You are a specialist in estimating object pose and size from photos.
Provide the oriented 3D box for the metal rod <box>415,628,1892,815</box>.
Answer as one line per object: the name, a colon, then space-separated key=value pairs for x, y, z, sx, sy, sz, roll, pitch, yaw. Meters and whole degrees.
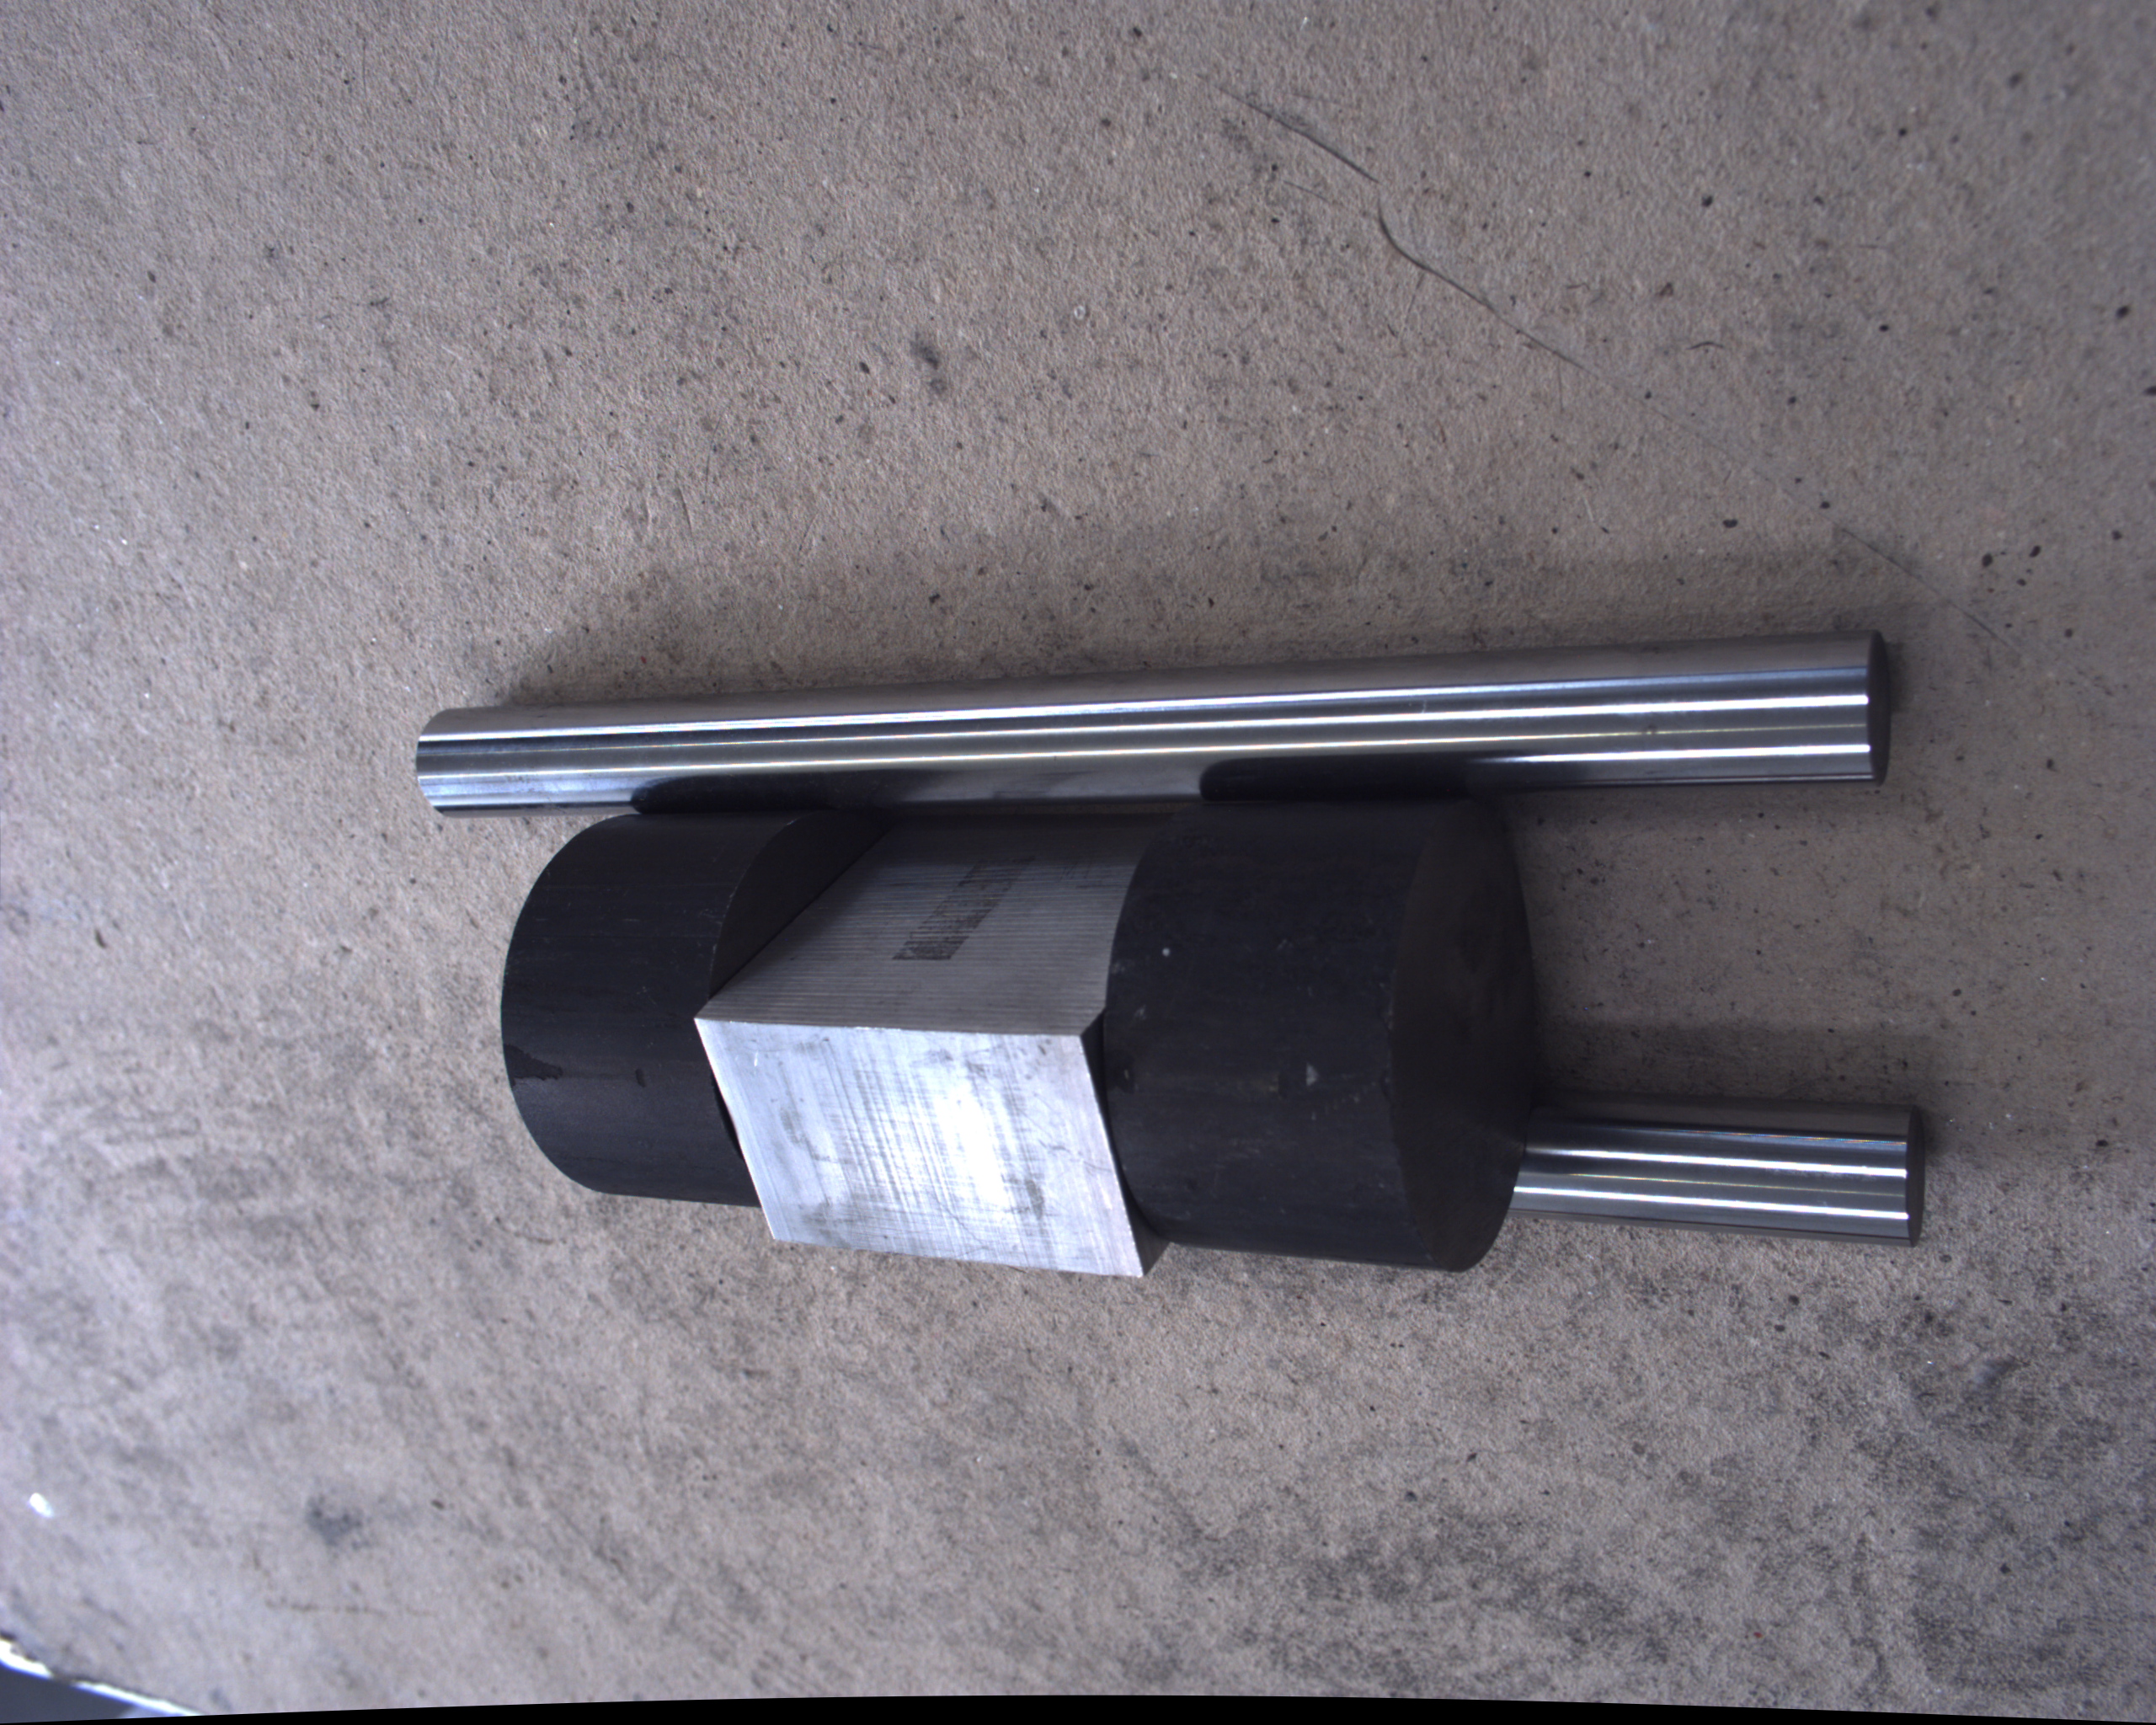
metal rod: x=-0.007 y=-0.023 z=0.398 sx=0.300 sy=0.025 sz=0.025 roll=0 pitch=118 yaw=28

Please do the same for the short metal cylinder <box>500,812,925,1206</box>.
short metal cylinder: x=-0.071 y=0.030 z=0.428 sx=0.050 sy=0.080 sz=0.080 roll=-1 pitch=118 yaw=29

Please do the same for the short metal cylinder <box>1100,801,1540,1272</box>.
short metal cylinder: x=0.045 y=0.030 z=0.367 sx=0.050 sy=0.080 sz=0.080 roll=-1 pitch=118 yaw=29

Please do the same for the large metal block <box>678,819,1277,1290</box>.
large metal block: x=-0.014 y=0.032 z=0.397 sx=0.080 sy=0.080 sz=0.050 roll=0 pitch=119 yaw=28

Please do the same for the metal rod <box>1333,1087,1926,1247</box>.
metal rod: x=0.014 y=0.055 z=0.435 sx=0.300 sy=0.025 sz=0.025 roll=0 pitch=118 yaw=28
